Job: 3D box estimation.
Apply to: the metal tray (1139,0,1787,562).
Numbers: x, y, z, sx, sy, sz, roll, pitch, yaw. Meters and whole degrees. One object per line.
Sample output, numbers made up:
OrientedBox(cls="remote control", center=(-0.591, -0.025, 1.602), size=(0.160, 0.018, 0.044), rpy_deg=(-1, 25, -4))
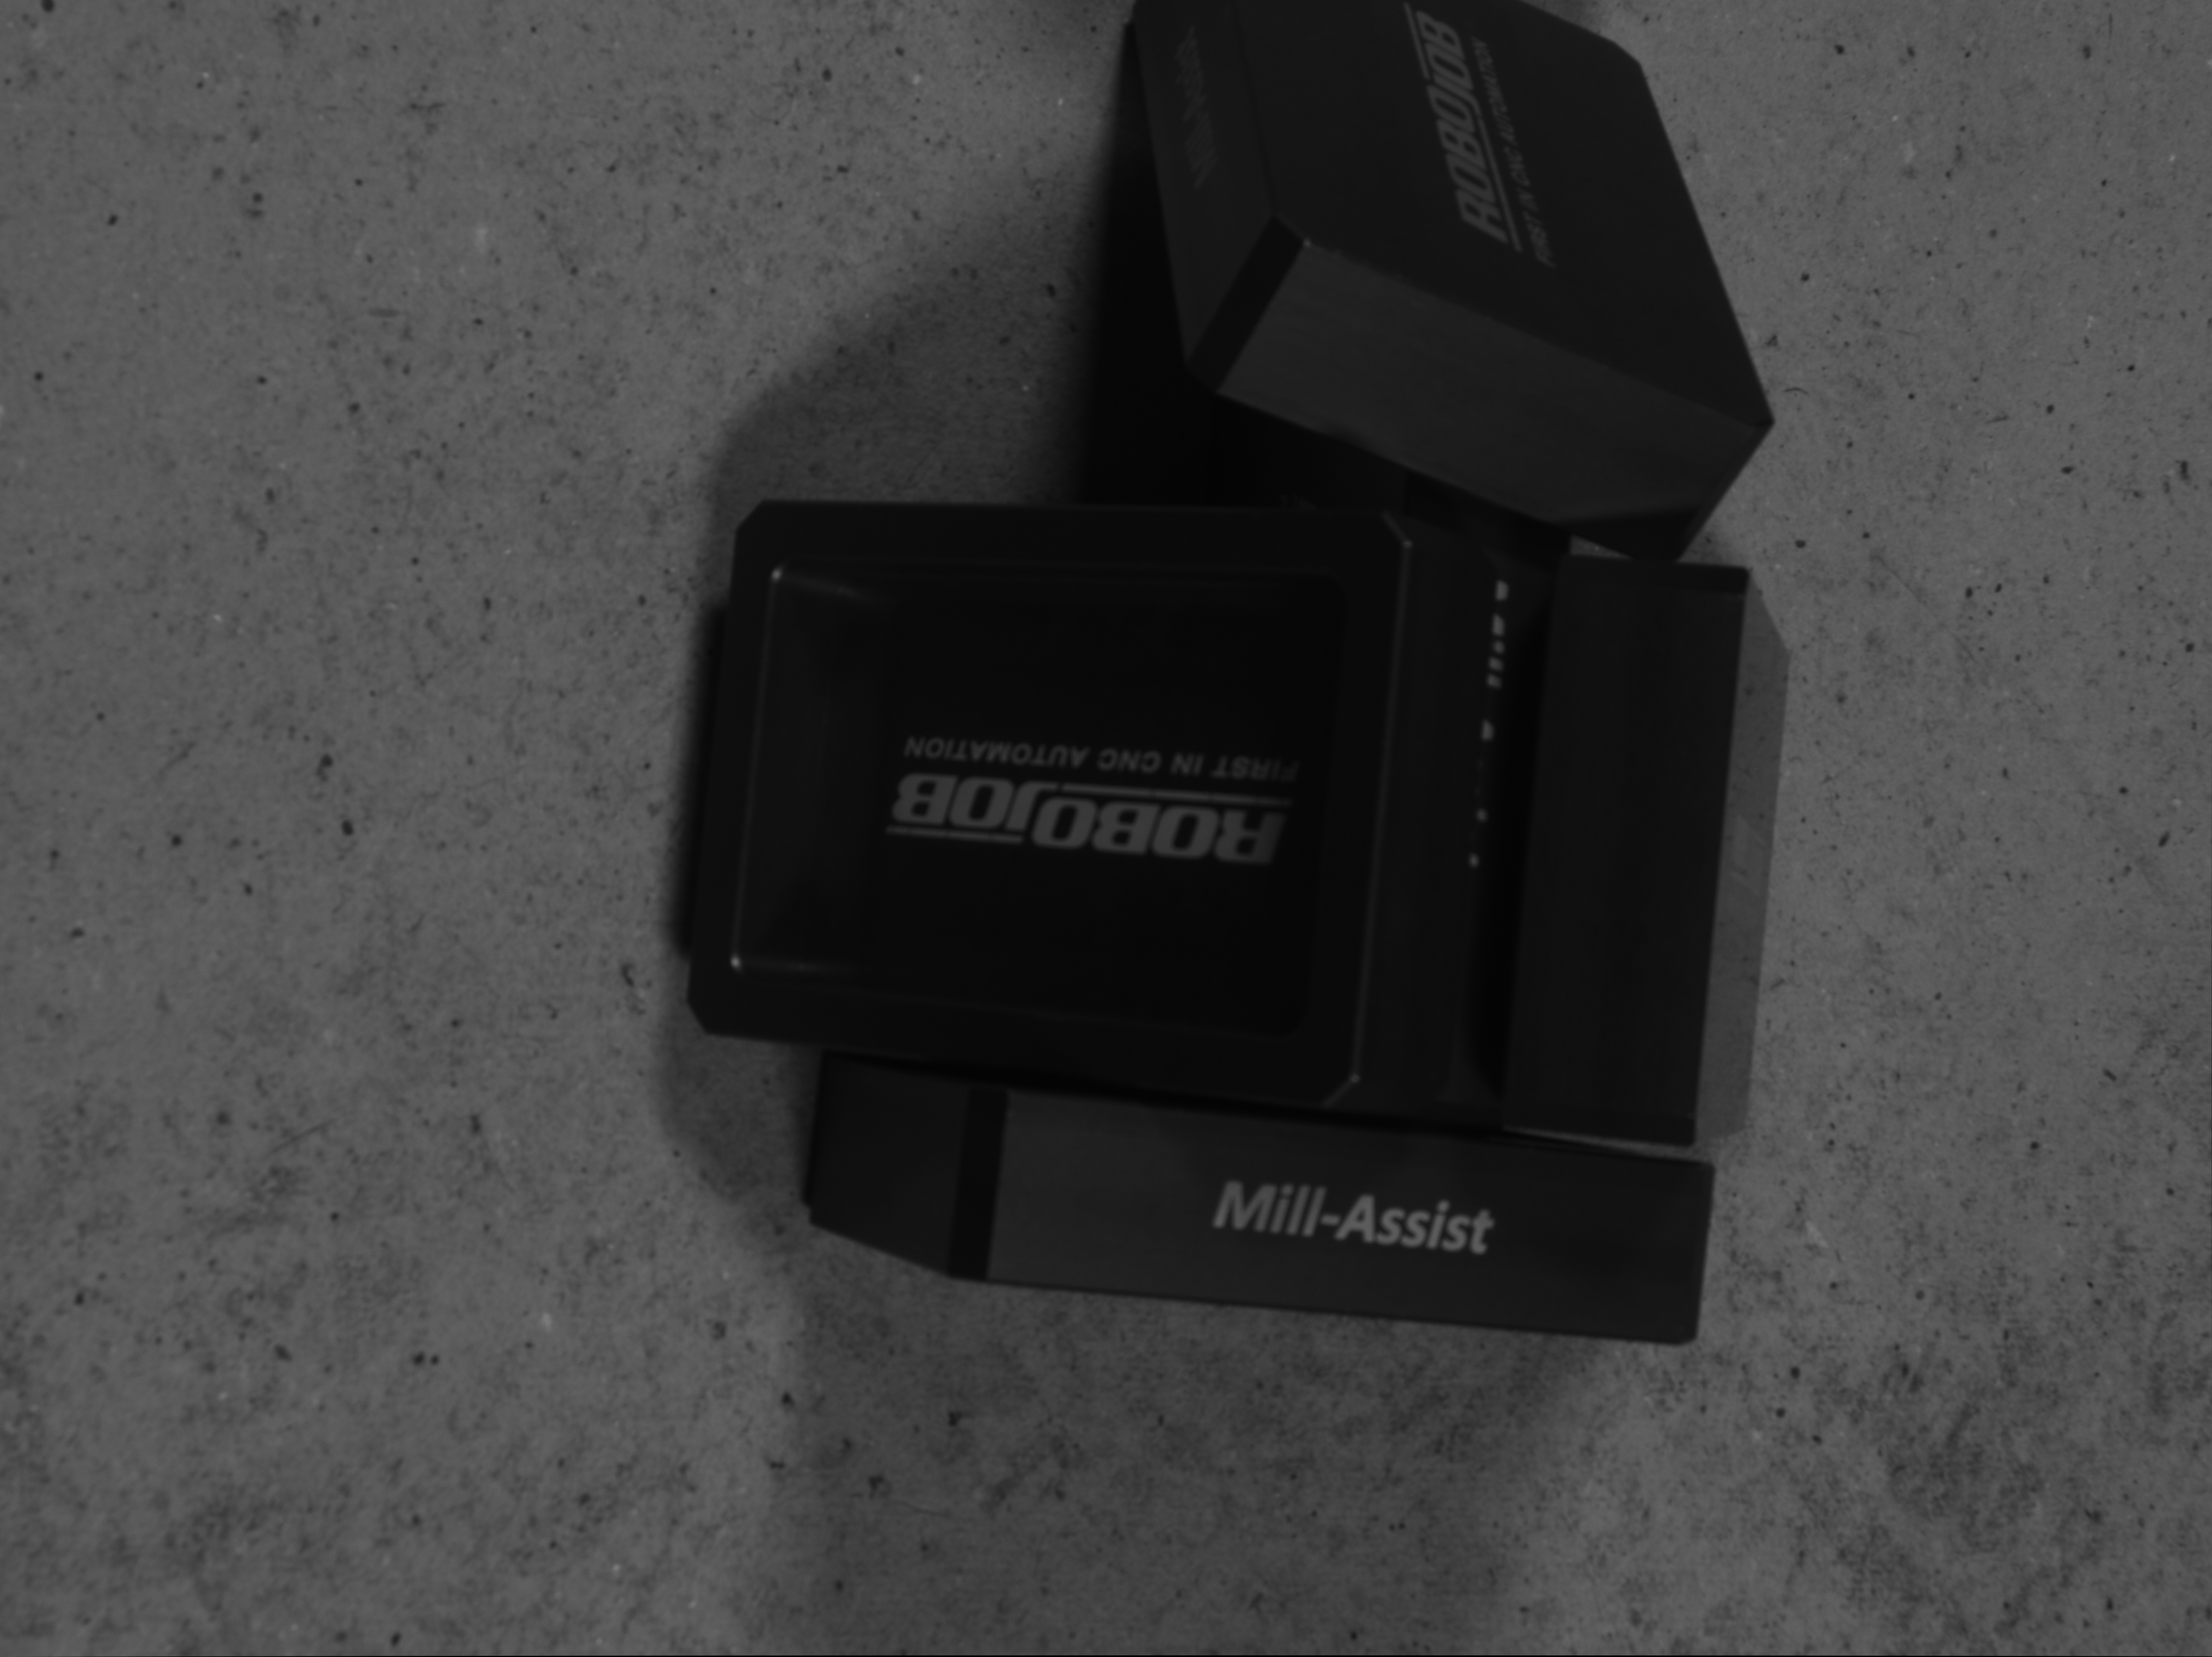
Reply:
OrientedBox(cls="metal tray", center=(0.056, -0.106, 0.615), size=(0.090, 0.130, 0.030), rpy_deg=(19, 125, -19))

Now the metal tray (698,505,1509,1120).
OrientedBox(cls="metal tray", center=(-0.003, -0.005, 0.591), size=(0.030, 0.130, 0.090), rpy_deg=(9, 86, -56))

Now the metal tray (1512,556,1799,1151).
OrientedBox(cls="metal tray", center=(0.096, 0.007, 0.625), size=(0.030, 0.130, 0.090), rpy_deg=(6, 88, 14))

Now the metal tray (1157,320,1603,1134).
OrientedBox(cls="metal tray", center=(0.045, -0.017, 0.625), size=(0.030, 0.090, 0.130), rpy_deg=(8, 87, -20))

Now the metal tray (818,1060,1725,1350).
OrientedBox(cls="metal tray", center=(0.026, 0.063, 0.618), size=(0.130, 0.090, 0.030), rpy_deg=(8, 87, -20))
